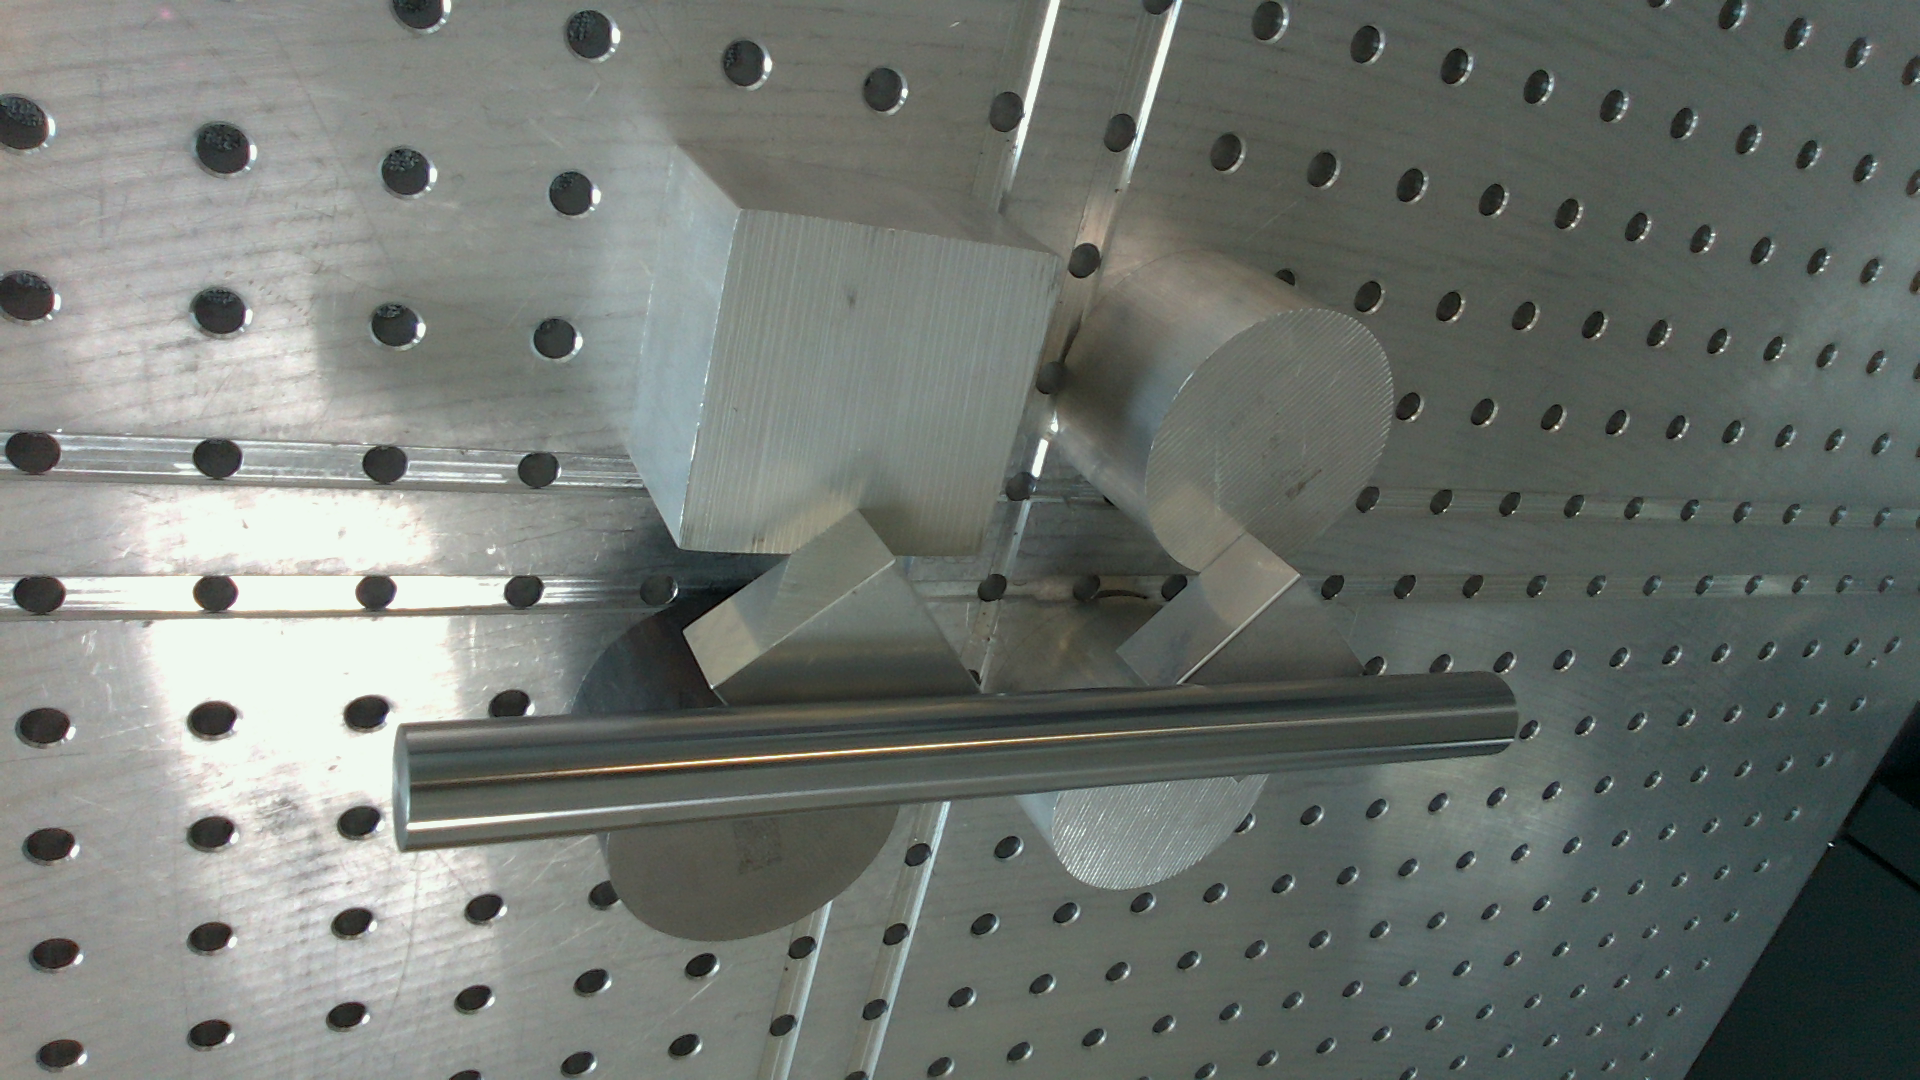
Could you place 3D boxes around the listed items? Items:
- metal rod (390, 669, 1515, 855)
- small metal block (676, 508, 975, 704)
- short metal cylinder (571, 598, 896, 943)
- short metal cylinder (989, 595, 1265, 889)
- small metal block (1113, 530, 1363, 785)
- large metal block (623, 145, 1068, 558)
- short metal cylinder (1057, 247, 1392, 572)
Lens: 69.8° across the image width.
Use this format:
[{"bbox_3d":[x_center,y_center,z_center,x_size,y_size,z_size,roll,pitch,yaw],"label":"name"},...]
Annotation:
[{"bbox_3d":[0.023,0.050,0.338,0.301,0.025,0.025,1,118,-29],"label":"metal rod"},{"bbox_3d":[-0.031,0.029,0.329,0.050,0.025,0.050,-35,129,-5],"label":"small metal block"},{"bbox_3d":[-0.063,0.063,0.379,0.080,0.050,0.080,-14,124,-21],"label":"short metal cylinder"},{"bbox_3d":[0.053,0.065,0.445,0.080,0.050,0.080,-14,124,-21],"label":"short metal cylinder"},{"bbox_3d":[0.080,0.034,0.392,0.050,0.025,0.050,-42,129,1],"label":"small metal block"},{"bbox_3d":[-0.030,-0.043,0.332,0.080,0.050,0.080,1,118,-29],"label":"large metal block"},{"bbox_3d":[0.075,-0.037,0.394,0.080,0.050,0.080,-14,124,-21],"label":"short metal cylinder"}]
